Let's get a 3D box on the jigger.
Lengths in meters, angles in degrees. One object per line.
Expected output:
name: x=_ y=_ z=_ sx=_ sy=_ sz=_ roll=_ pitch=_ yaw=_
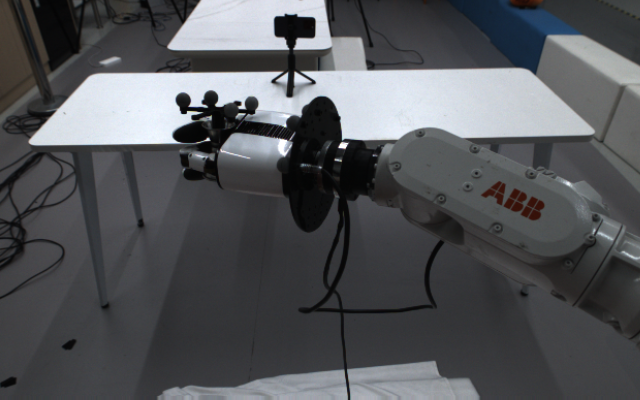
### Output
jigger: x=-0.122 y=-0.062 z=0.610 sx=0.043 sy=0.071 sz=0.043 roll=3 pitch=25 yaw=-1
